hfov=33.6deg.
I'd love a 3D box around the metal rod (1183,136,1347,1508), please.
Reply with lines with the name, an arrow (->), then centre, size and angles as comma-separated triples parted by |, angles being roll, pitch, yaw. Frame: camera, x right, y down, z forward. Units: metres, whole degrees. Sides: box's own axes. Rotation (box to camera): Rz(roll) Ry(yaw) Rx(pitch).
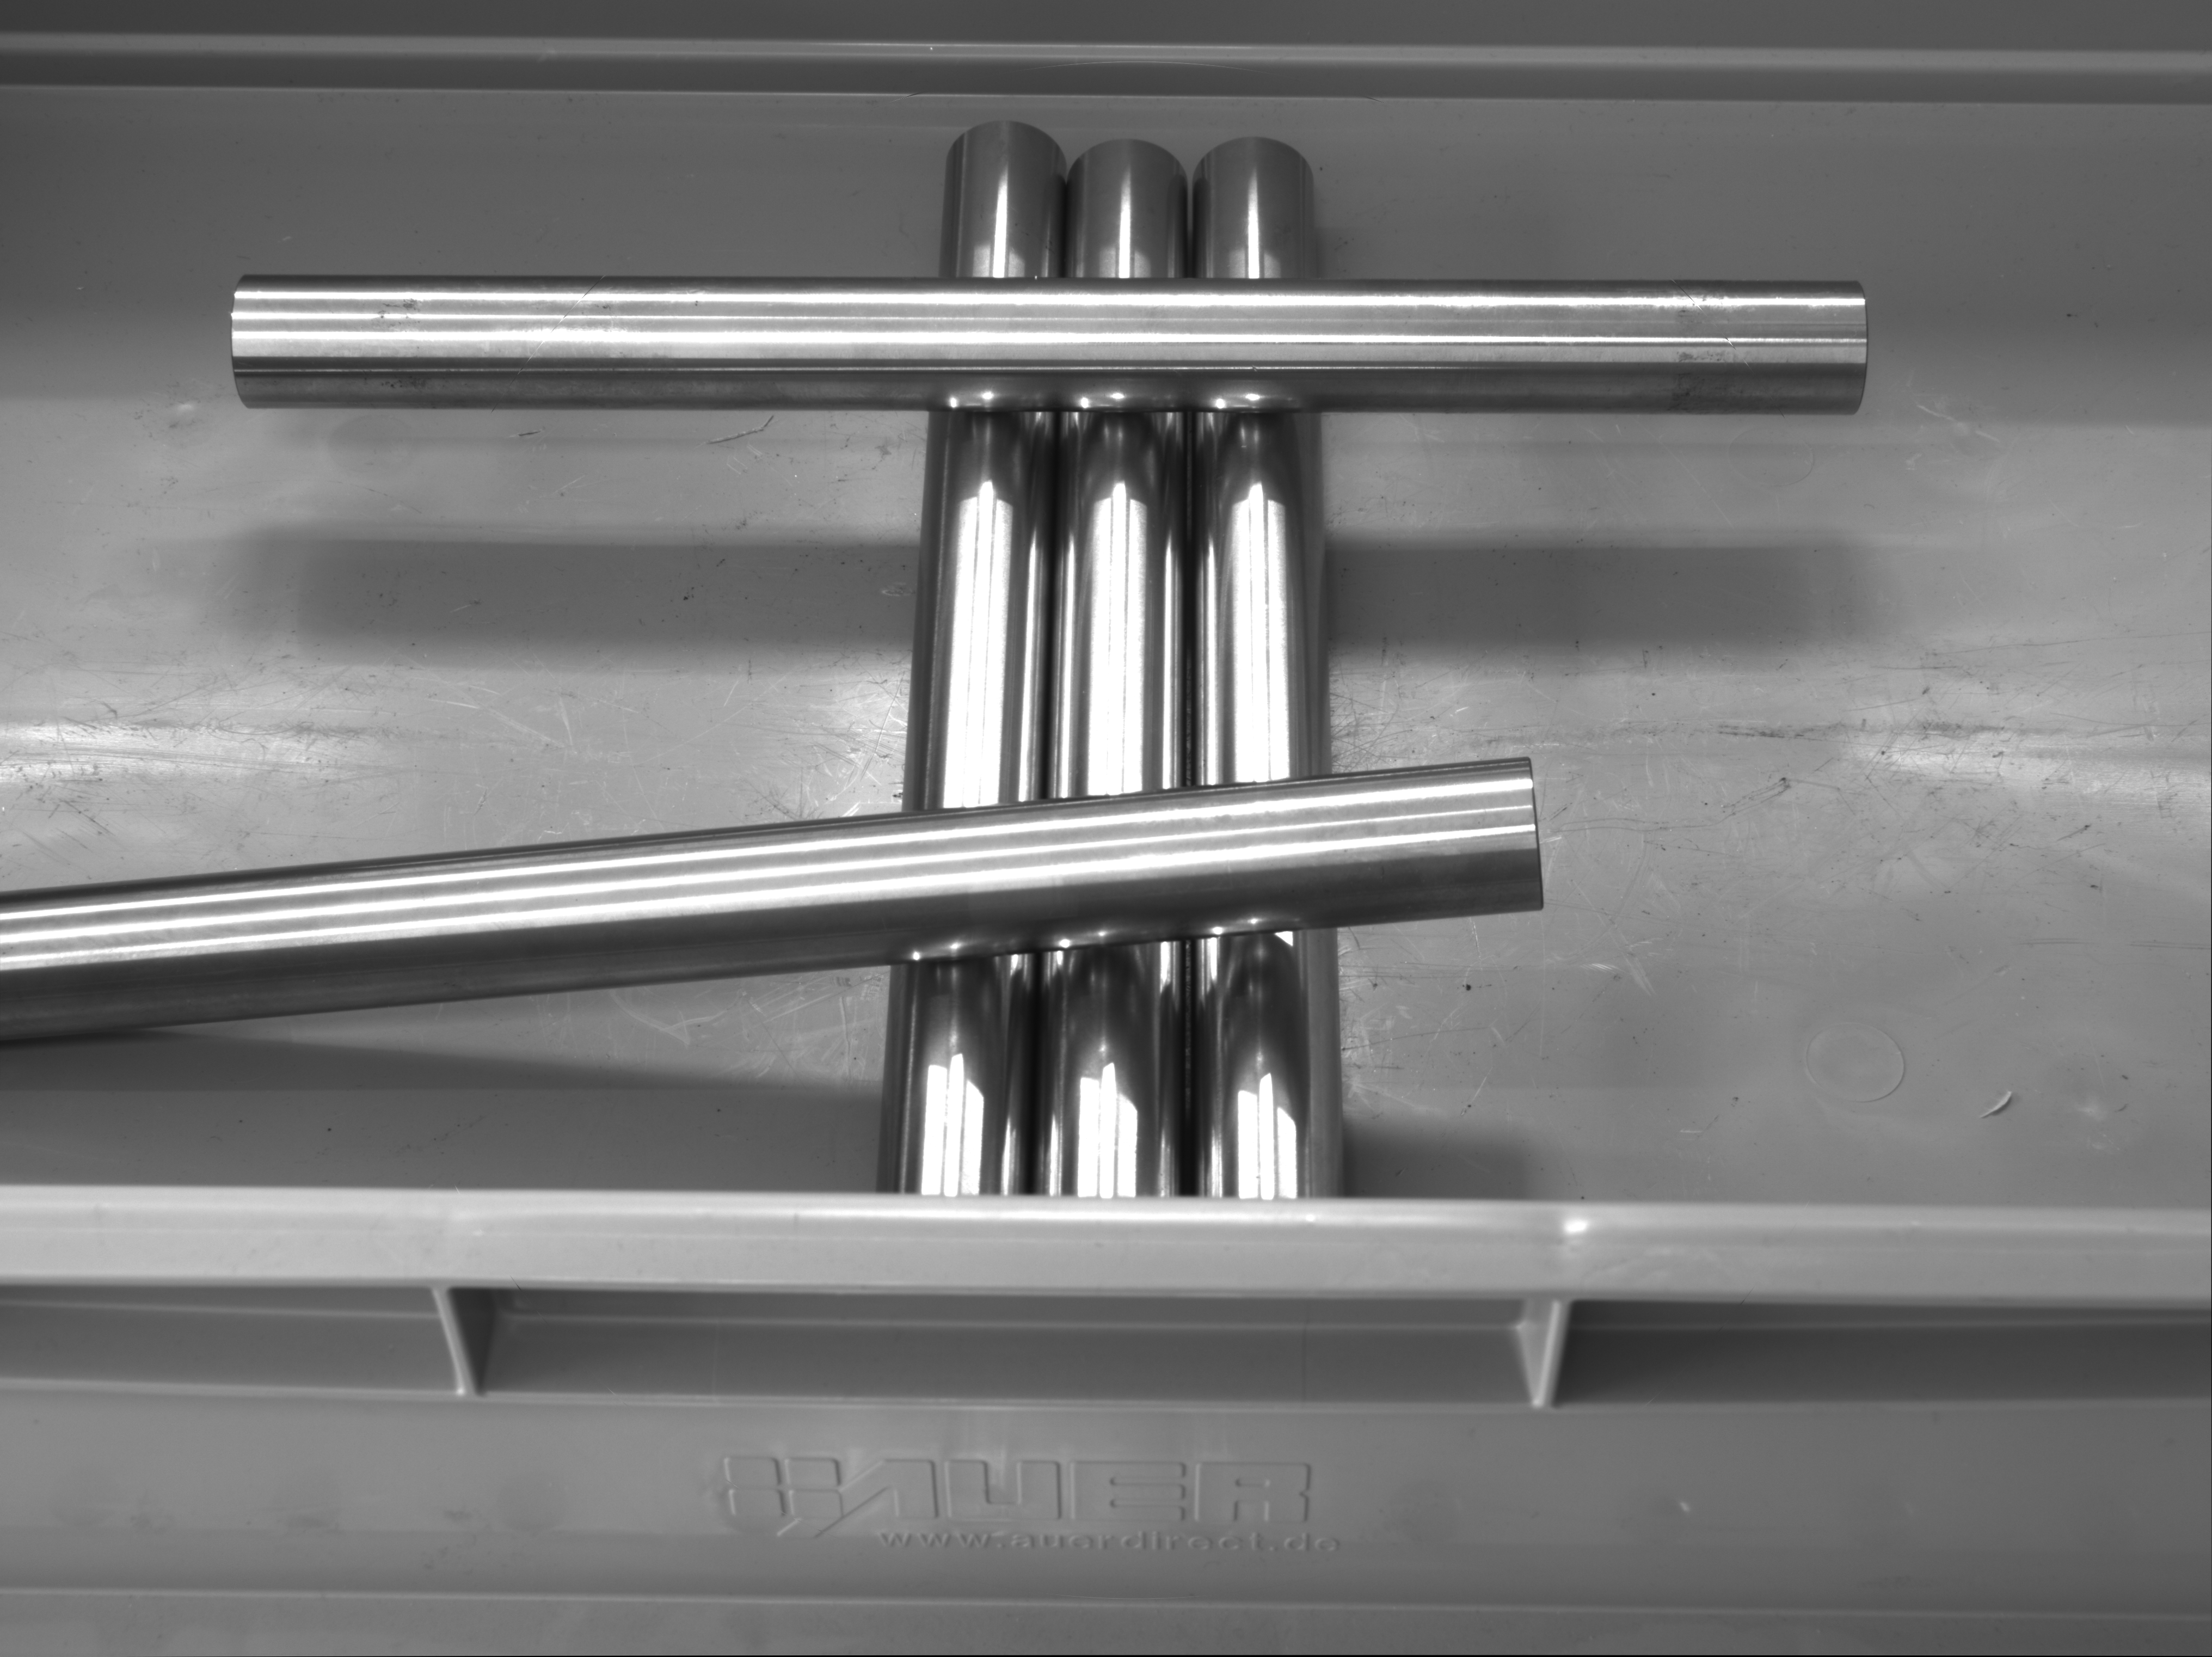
metal rod -> 0.027, -0.017, 0.655 | 0.025, 0.025, 0.300 | 1, 50, 1

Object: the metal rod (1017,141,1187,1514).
metal rod -> 0.002, -0.016, 0.655 | 0.025, 0.025, 0.300 | 1, 50, 1

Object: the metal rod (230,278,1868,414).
metal rod -> -0.010, -0.090, 0.684 | 0.300, 0.025, 0.025 | 0, 50, 0

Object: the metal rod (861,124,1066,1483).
metal rod -> -0.023, -0.021, 0.659 | 0.025, 0.025, 0.300 | 1, 50, 1

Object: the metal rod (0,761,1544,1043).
metal rod -> -0.079, 0.014, 0.605 | 0.300, 0.025, 0.025 | -5, 50, 5
